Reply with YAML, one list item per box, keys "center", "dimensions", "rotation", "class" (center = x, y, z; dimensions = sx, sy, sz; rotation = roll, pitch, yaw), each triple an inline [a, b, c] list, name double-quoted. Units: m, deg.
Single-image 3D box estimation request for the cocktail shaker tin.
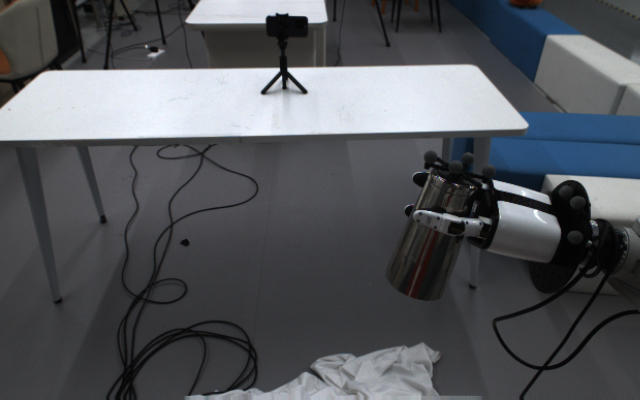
- center: [0.163, 0.041, 0.680]
  dimensions: [0.093, 0.170, 0.093]
  rotation: [12, 25, -6]
  class: "cocktail shaker tin"
